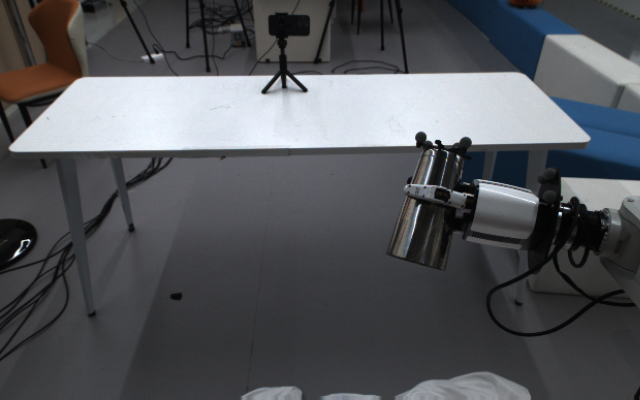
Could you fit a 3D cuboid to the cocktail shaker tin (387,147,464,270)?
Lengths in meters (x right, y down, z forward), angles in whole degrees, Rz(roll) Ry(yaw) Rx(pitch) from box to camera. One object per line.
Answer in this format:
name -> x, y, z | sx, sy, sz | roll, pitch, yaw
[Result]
cocktail shaker tin -> 0.165, 0.012, 0.737 | 0.093, 0.170, 0.093 | 16, -6, 2
